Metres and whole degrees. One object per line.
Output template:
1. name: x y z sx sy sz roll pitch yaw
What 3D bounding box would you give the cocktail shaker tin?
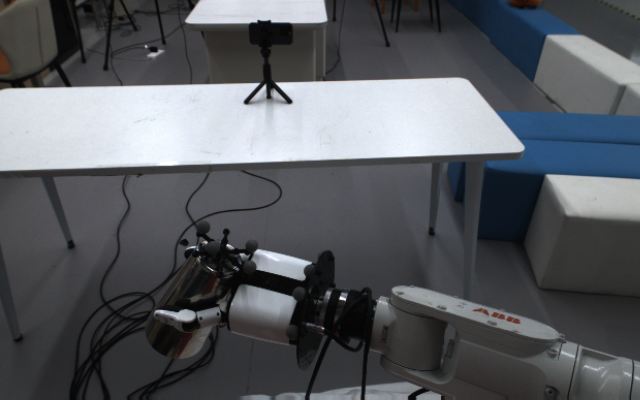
1. cocktail shaker tin: -0.172 0.131 0.679 0.093 0.170 0.093 26 32 -18
